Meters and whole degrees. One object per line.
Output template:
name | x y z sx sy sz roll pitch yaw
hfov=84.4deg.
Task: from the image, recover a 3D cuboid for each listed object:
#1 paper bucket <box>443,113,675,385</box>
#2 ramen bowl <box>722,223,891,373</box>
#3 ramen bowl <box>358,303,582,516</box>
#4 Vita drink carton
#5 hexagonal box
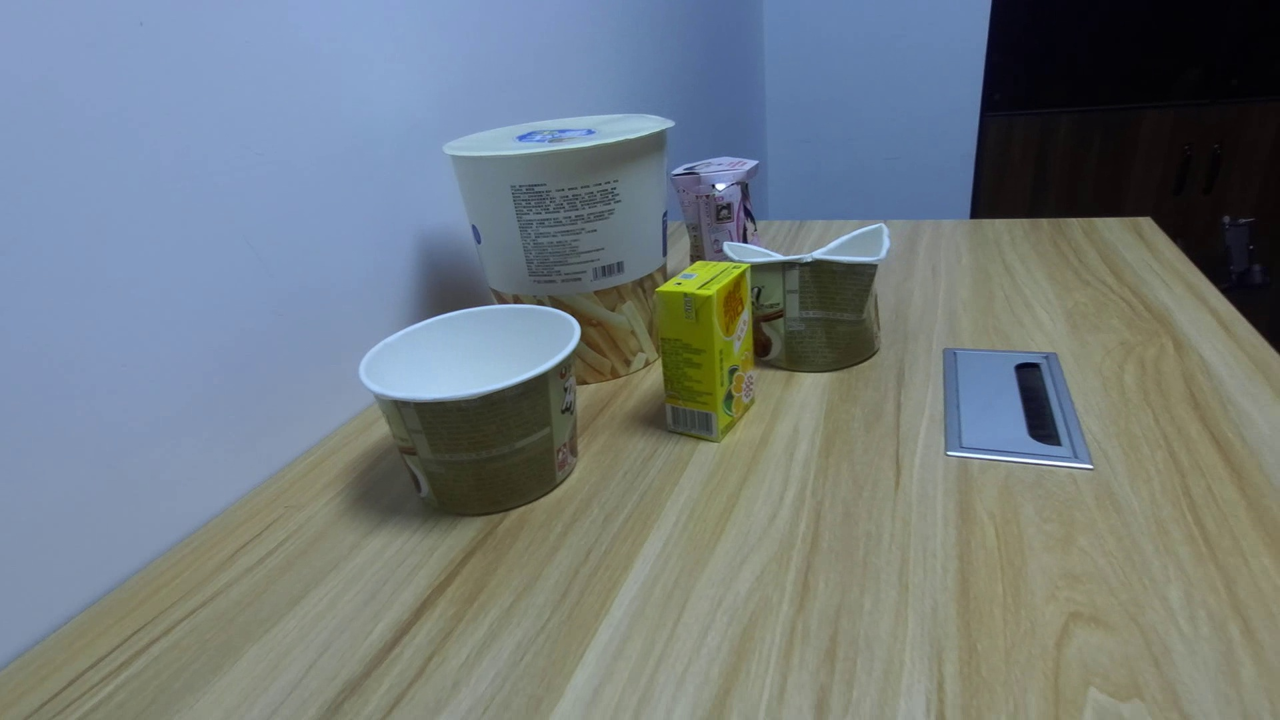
paper bucket | -0.055 -0.095 0.607 0.198 0.195 0.198 -5 24 3
ramen bowl | 0.137 -0.055 0.589 0.128 0.093 0.111 1 27 16
ramen bowl | -0.103 0.032 0.467 0.140 0.095 0.140 -4 26 2
Vita drink carton | 0.047 -0.008 0.491 0.043 0.109 0.067 9 28 30
hexagonal box | 0.079 -0.129 0.716 0.091 0.134 0.089 -18 24 -21
